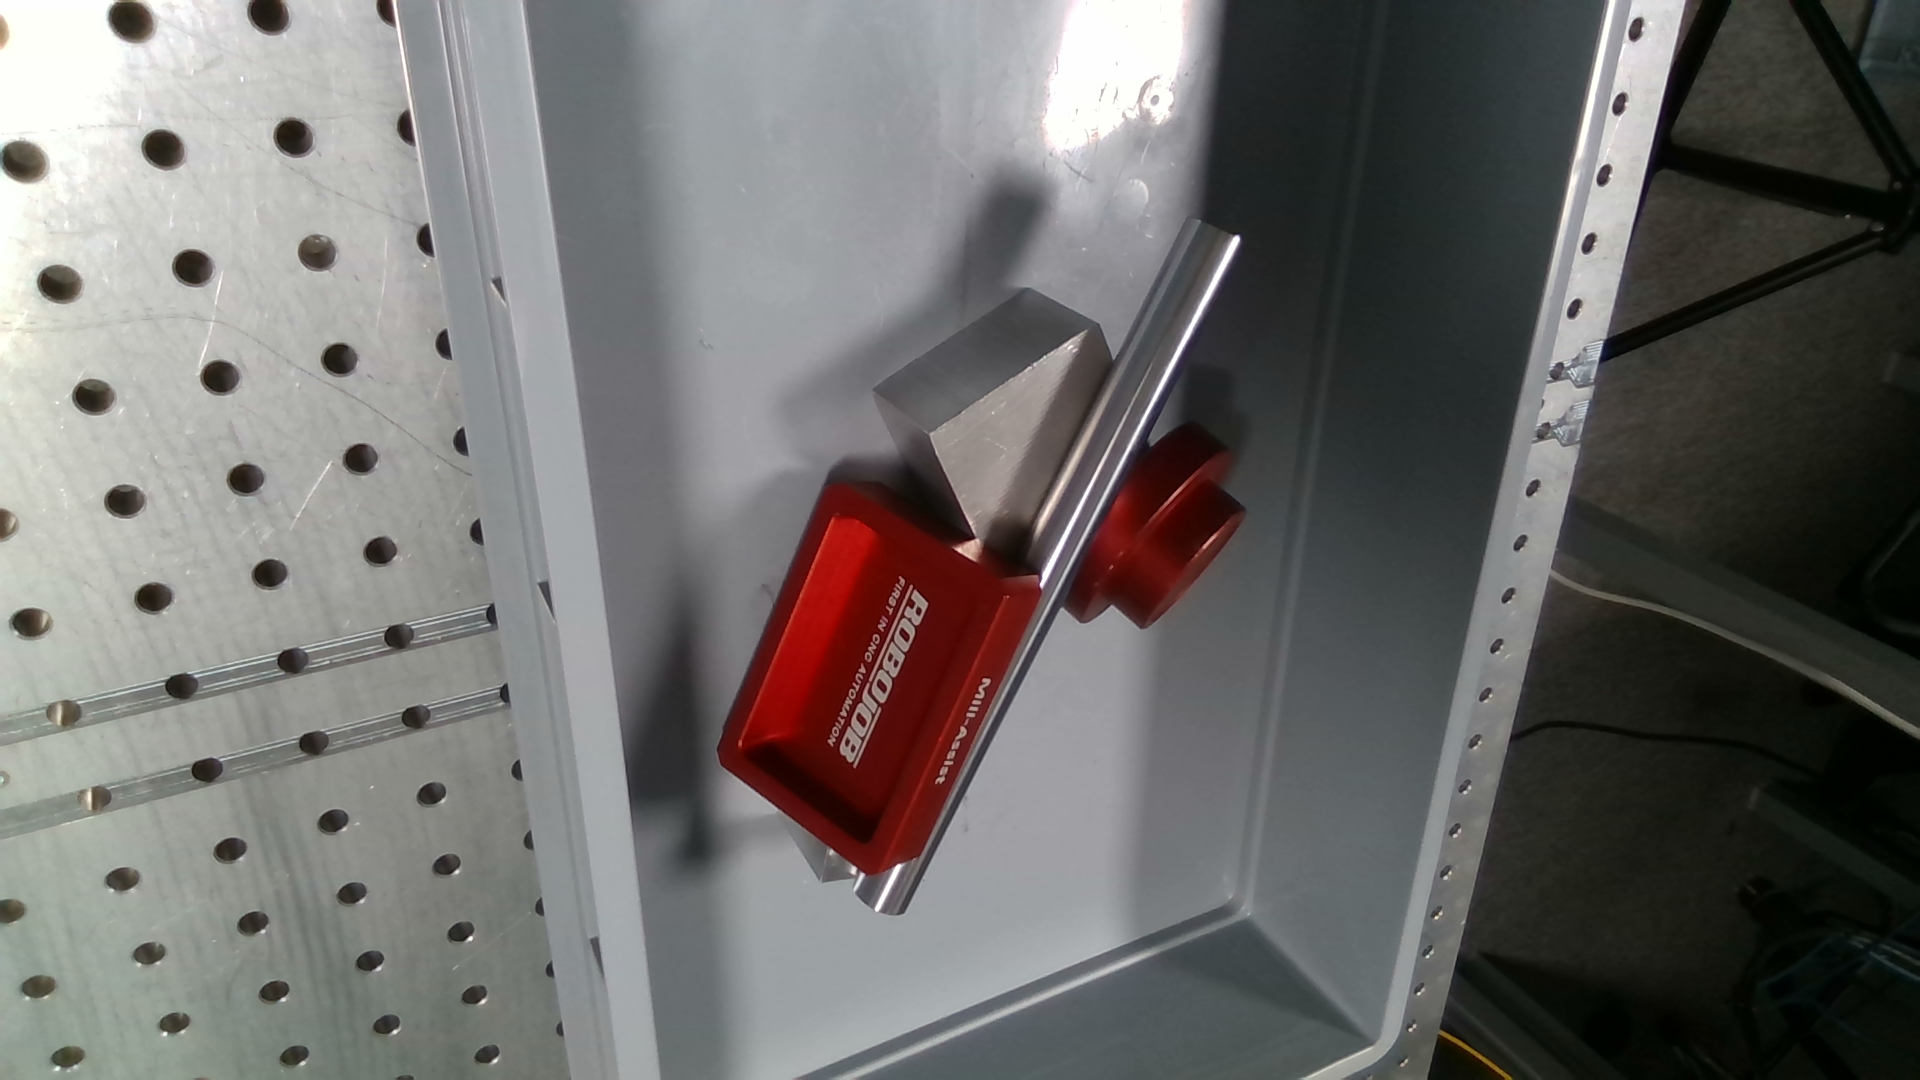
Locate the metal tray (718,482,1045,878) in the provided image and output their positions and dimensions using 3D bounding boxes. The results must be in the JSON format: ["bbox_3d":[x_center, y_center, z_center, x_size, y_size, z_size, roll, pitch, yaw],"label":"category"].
[{"bbox_3d":[-0.033,0.053,0.541,0.030,0.090,0.130,-3,120,-61],"label":"metal tray"}]

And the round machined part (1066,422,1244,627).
[{"bbox_3d":[0.084,0.000,0.587,0.098,0.042,0.098,-46,167,-13],"label":"round machined part"}]

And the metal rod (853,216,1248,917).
[{"bbox_3d":[0.031,0.017,0.542,0.025,0.025,0.300,17,105,-37],"label":"metal rod"}]

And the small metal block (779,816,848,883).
[{"bbox_3d":[-0.046,0.121,0.601,0.050,0.050,0.025,0,115,-32],"label":"small metal block"}]

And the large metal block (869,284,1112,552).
[{"bbox_3d":[0.022,-0.042,0.554,0.080,0.050,0.080,-34,128,-12],"label":"large metal block"}]
